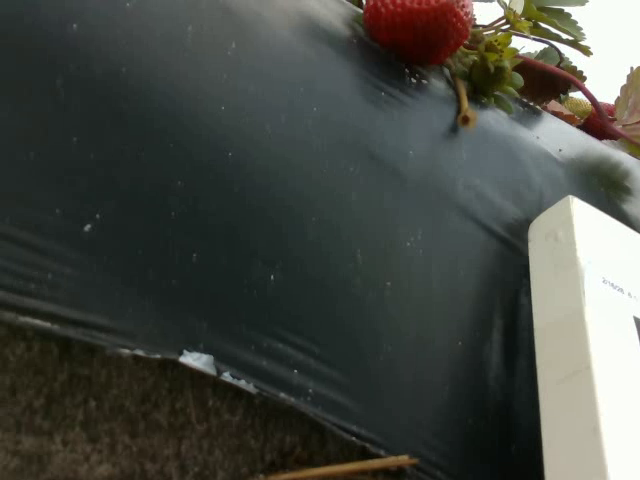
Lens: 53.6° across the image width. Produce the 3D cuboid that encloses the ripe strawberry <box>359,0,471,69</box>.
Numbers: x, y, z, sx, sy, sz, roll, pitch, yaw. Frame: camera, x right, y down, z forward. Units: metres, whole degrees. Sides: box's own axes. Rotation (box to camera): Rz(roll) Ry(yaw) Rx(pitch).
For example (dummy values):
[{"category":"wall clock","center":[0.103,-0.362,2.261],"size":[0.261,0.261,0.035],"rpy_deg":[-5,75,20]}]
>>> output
[{"category":"ripe strawberry","center":[0.013,-0.026,0.070],"size":[0.018,0.014,0.017],"rpy_deg":[38,4,-21]}]
